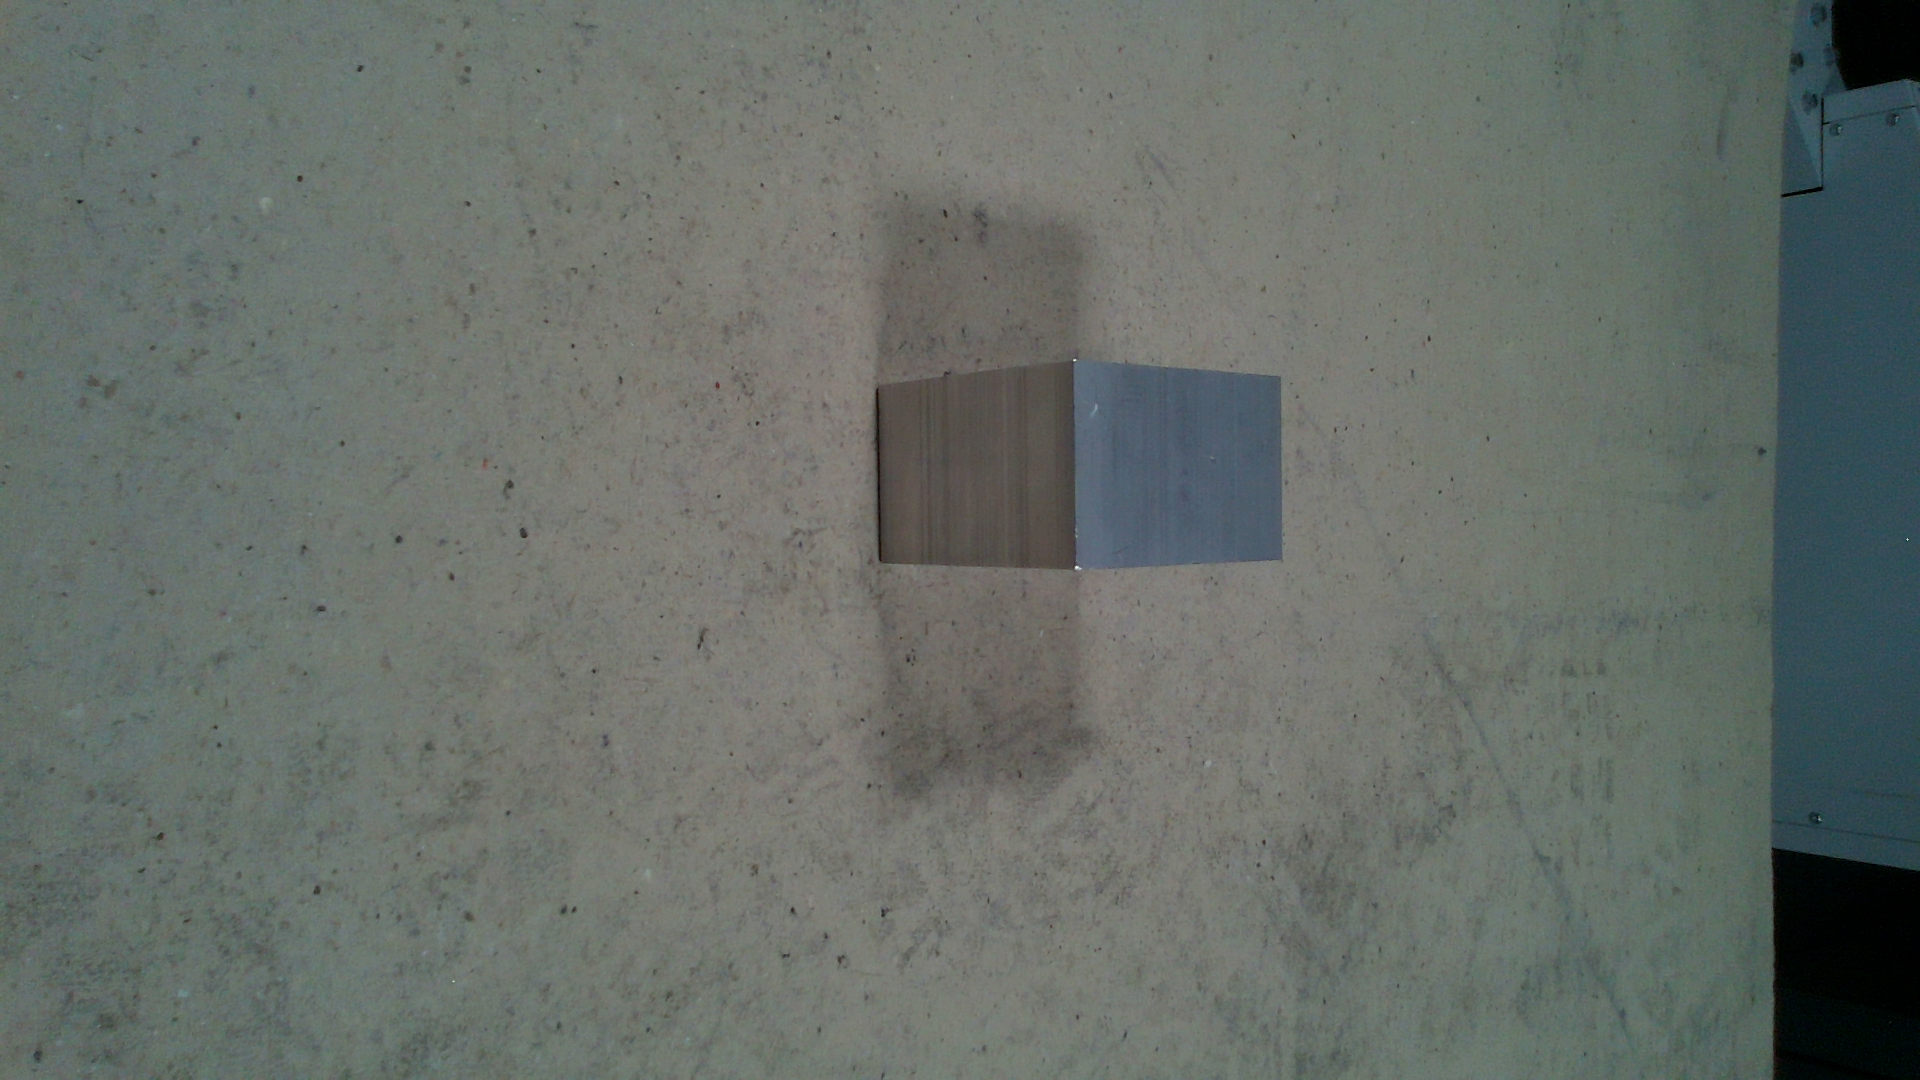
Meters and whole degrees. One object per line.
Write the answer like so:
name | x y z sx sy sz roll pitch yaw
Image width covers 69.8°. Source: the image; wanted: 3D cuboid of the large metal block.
large metal block | 0.032 -0.019 0.380 0.080 0.080 0.050 -2 91 -40
